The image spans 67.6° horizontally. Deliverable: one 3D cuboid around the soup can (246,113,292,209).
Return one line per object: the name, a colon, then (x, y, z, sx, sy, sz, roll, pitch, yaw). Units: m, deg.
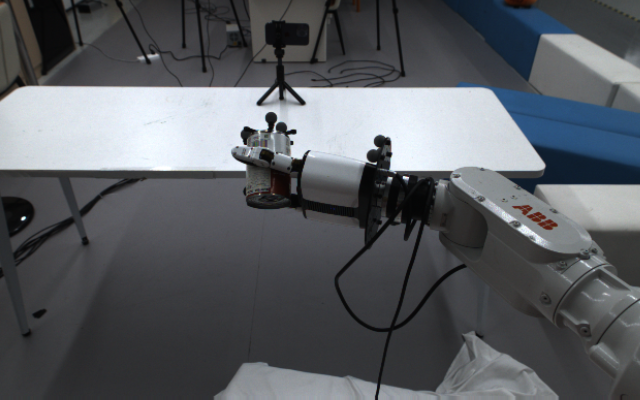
soup can: (-0.075, -0.044, 0.715, 0.067, 0.067, 0.101, -1, 71, -5)
